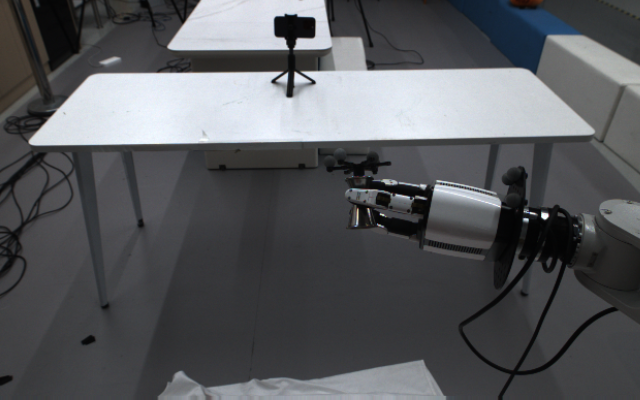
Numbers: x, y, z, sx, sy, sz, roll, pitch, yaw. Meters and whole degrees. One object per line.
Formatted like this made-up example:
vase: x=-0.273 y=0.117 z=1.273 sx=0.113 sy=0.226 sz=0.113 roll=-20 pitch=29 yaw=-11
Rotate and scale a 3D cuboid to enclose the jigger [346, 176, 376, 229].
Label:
jigger: x=0.055 y=0.003 z=0.656 sx=0.043 sy=0.071 sz=0.043 roll=-2 pitch=-7 yaw=0
